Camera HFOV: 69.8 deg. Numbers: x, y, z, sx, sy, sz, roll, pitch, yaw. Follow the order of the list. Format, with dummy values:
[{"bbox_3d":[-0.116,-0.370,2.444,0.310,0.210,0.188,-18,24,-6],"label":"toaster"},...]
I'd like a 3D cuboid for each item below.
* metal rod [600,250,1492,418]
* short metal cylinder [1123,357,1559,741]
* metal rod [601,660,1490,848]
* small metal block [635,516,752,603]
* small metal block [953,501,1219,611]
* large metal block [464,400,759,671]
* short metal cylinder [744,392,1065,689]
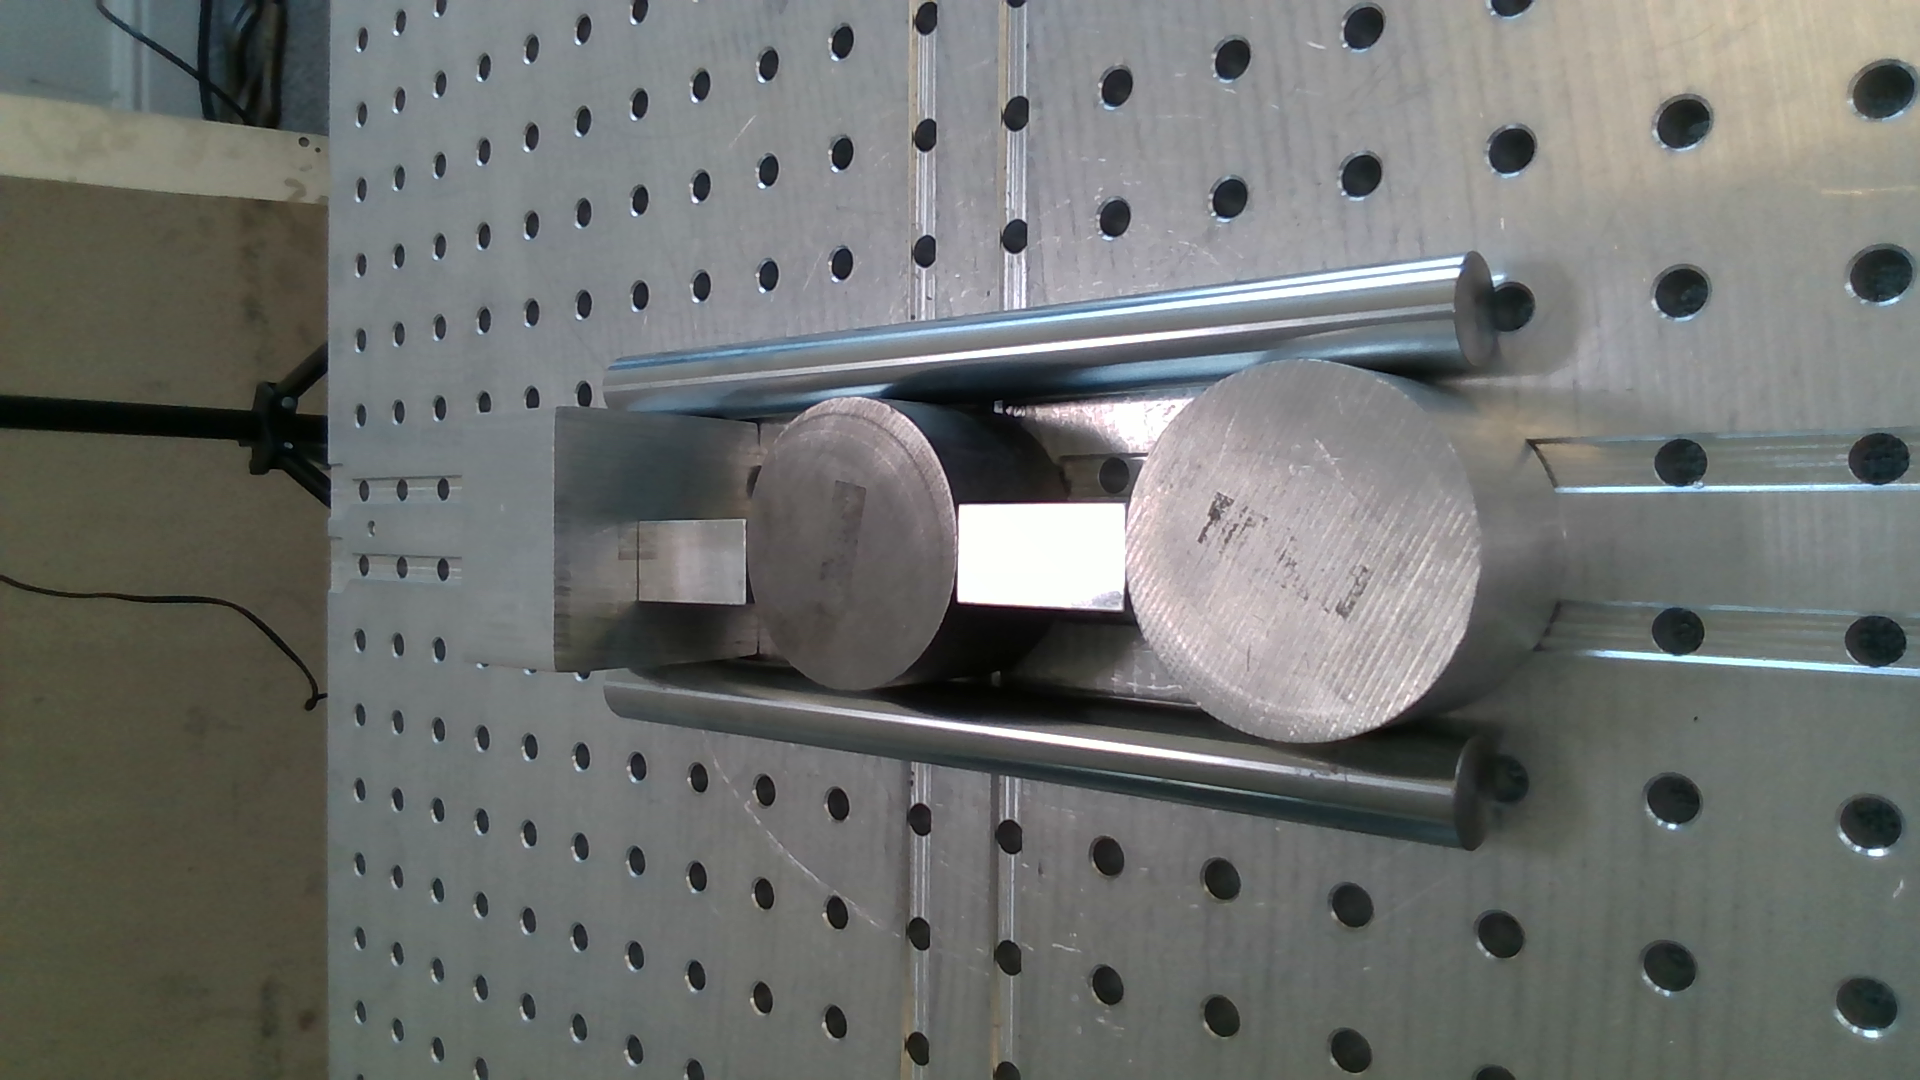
[{"bbox_3d":[-0.004,-0.052,0.395,0.300,0.025,0.025,1,91,40],"label":"metal rod"},{"bbox_3d":[0.084,0.002,0.306,0.080,0.050,0.080,0,91,40],"label":"short metal cylinder"},{"bbox_3d":[-0.004,0.053,0.396,0.300,0.025,0.025,1,91,40],"label":"metal rod"},{"bbox_3d":[-0.066,0.006,0.432,0.050,0.050,0.025,0,90,40],"label":"small metal block"},{"bbox_3d":[0.034,0.003,0.348,0.050,0.050,0.025,1,91,40],"label":"small metal block"},{"bbox_3d":[-0.113,-0.002,0.454,0.050,0.080,0.080,1,91,40],"label":"large metal block"},{"bbox_3d":[-0.016,0.000,0.391,0.080,0.050,0.080,0,91,40],"label":"short metal cylinder"}]
